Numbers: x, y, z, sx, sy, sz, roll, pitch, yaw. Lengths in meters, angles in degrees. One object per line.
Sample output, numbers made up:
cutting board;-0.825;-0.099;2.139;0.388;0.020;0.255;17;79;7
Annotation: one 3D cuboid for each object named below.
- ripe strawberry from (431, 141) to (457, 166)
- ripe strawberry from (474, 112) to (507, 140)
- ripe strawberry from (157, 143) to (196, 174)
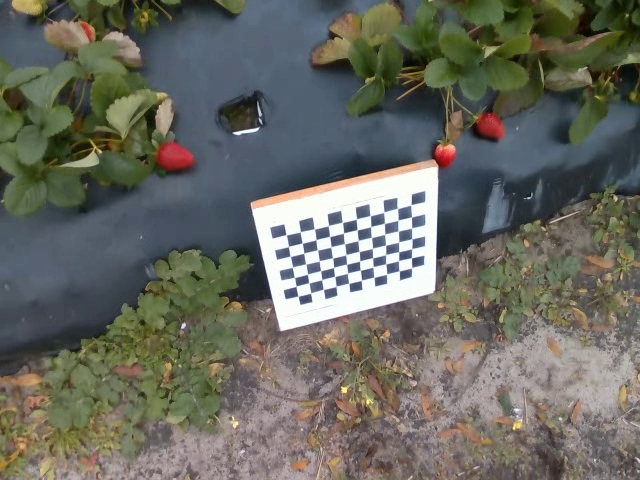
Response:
ripe strawberry;0.197;-0.130;0.987;0.036;0.041;0.028;-7;22;3
ripe strawberry;0.264;-0.174;0.986;0.044;0.059;0.042;-45;14;34
ripe strawberry;-0.219;-0.121;0.951;0.064;0.046;0.049;15;48;14
